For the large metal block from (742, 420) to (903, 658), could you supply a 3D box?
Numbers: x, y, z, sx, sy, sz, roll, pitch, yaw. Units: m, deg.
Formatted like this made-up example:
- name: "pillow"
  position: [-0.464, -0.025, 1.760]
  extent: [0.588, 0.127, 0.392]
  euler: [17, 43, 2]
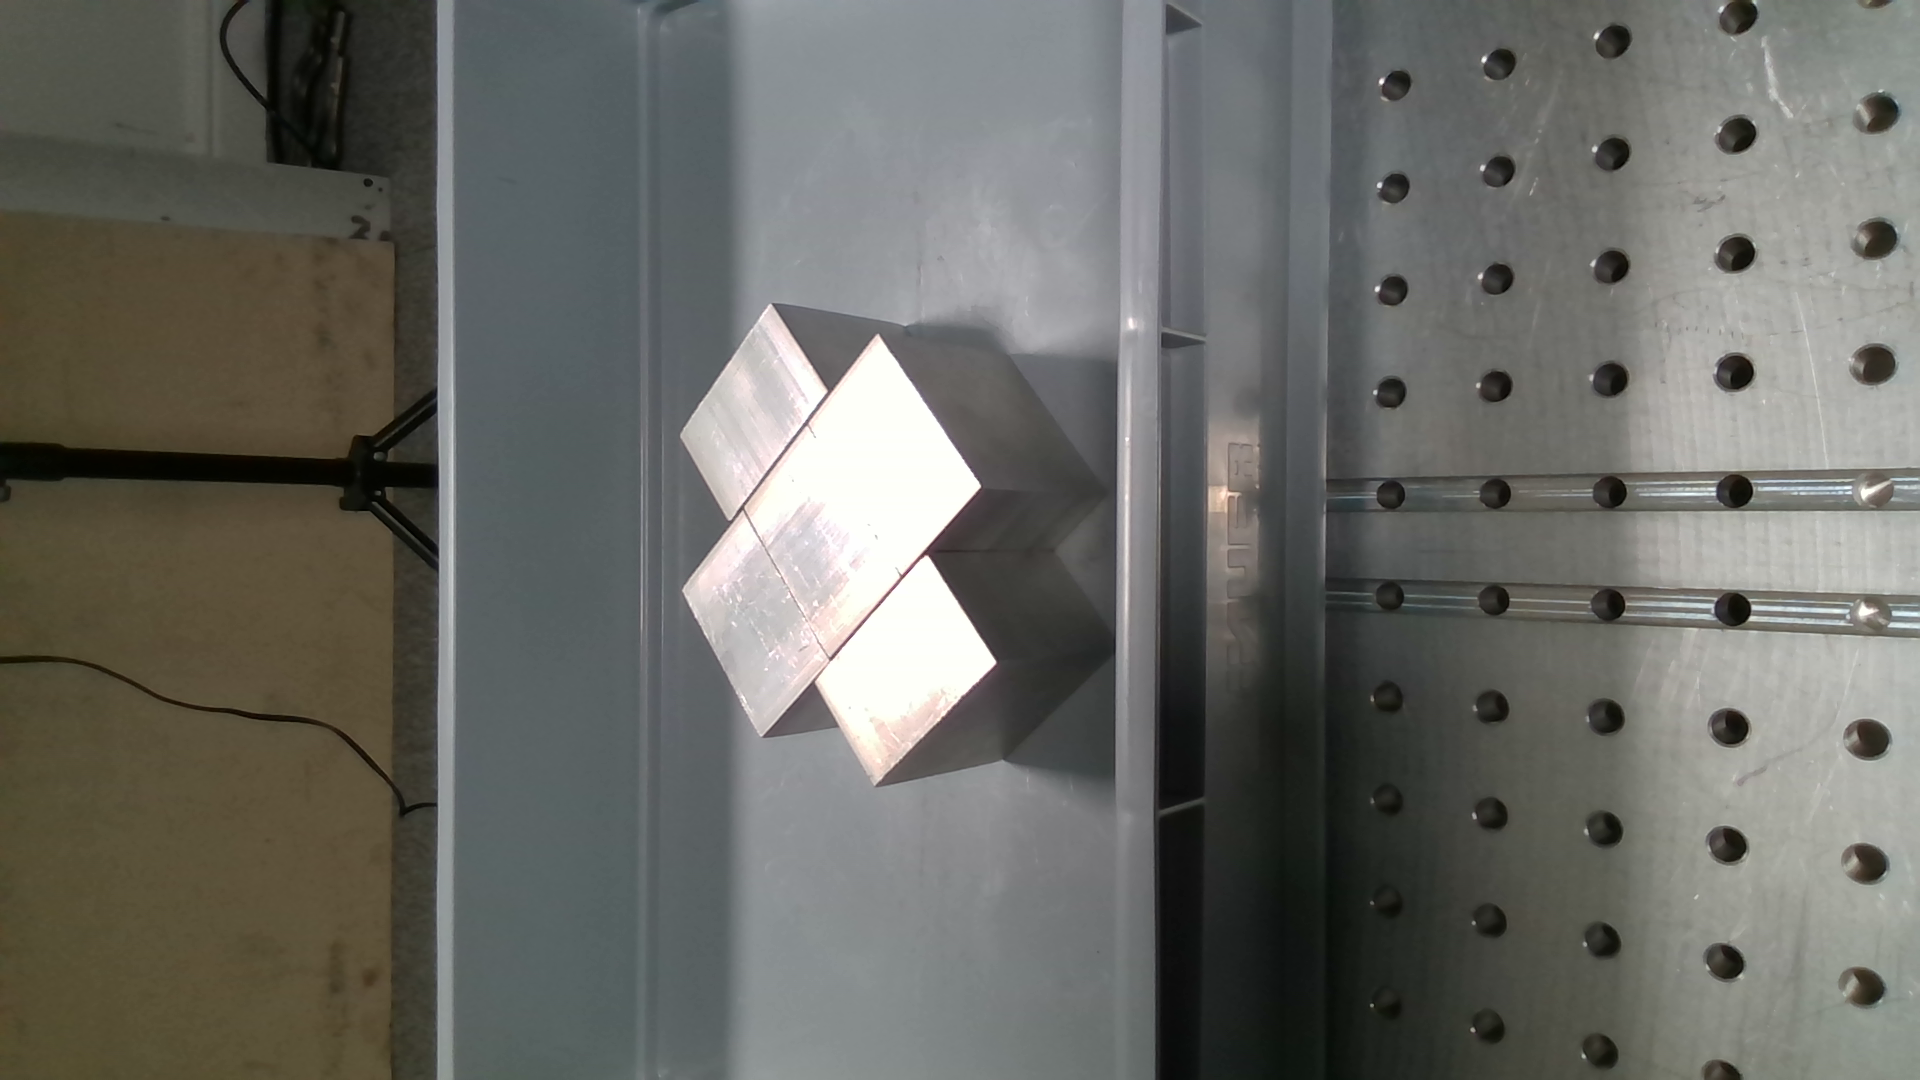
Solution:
- name: "large metal block"
  position: [-0.030, -0.001, 0.571]
  extent: [0.050, 0.080, 0.080]
  euler: [-48, 62, 30]

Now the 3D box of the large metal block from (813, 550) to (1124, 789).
- name: "large metal block"
  position: [0.003, 0.049, 0.543]
  extent: [0.080, 0.080, 0.050]
  euler: [-49, 61, 30]

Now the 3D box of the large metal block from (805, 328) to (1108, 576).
- name: "large metal block"
  position: [-0.001, -0.033, 0.545]
  extent: [0.050, 0.080, 0.080]
  euler: [-48, 62, 30]

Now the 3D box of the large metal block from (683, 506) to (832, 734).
- name: "large metal block"
  position: [-0.059, 0.032, 0.597]
  extent: [0.050, 0.080, 0.080]
  euler: [-48, 62, 30]

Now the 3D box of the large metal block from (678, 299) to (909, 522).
- name: "large metal block"
  position: [-0.061, -0.053, 0.596]
  extent: [0.080, 0.080, 0.050]
  euler: [-49, 61, 30]
